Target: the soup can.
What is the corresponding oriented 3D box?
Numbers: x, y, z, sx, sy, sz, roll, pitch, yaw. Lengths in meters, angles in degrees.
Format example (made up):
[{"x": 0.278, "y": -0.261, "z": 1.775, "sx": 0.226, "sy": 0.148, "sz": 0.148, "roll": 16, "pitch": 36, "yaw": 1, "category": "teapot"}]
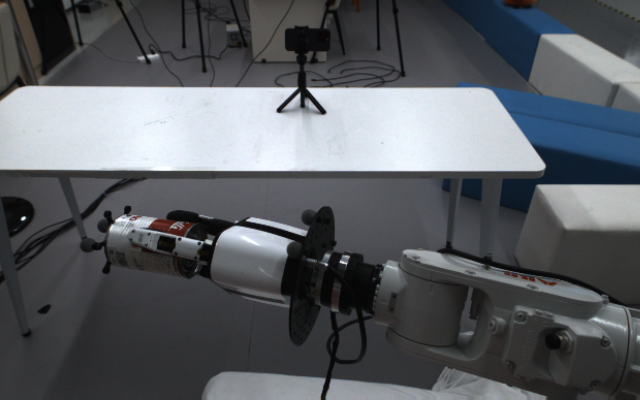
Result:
[{"x": -0.197, "y": 0.057, "z": 0.592, "sx": 0.101, "sy": 0.067, "sz": 0.067, "roll": 6, "pitch": 35, "yaw": 11, "category": "soup can"}]
